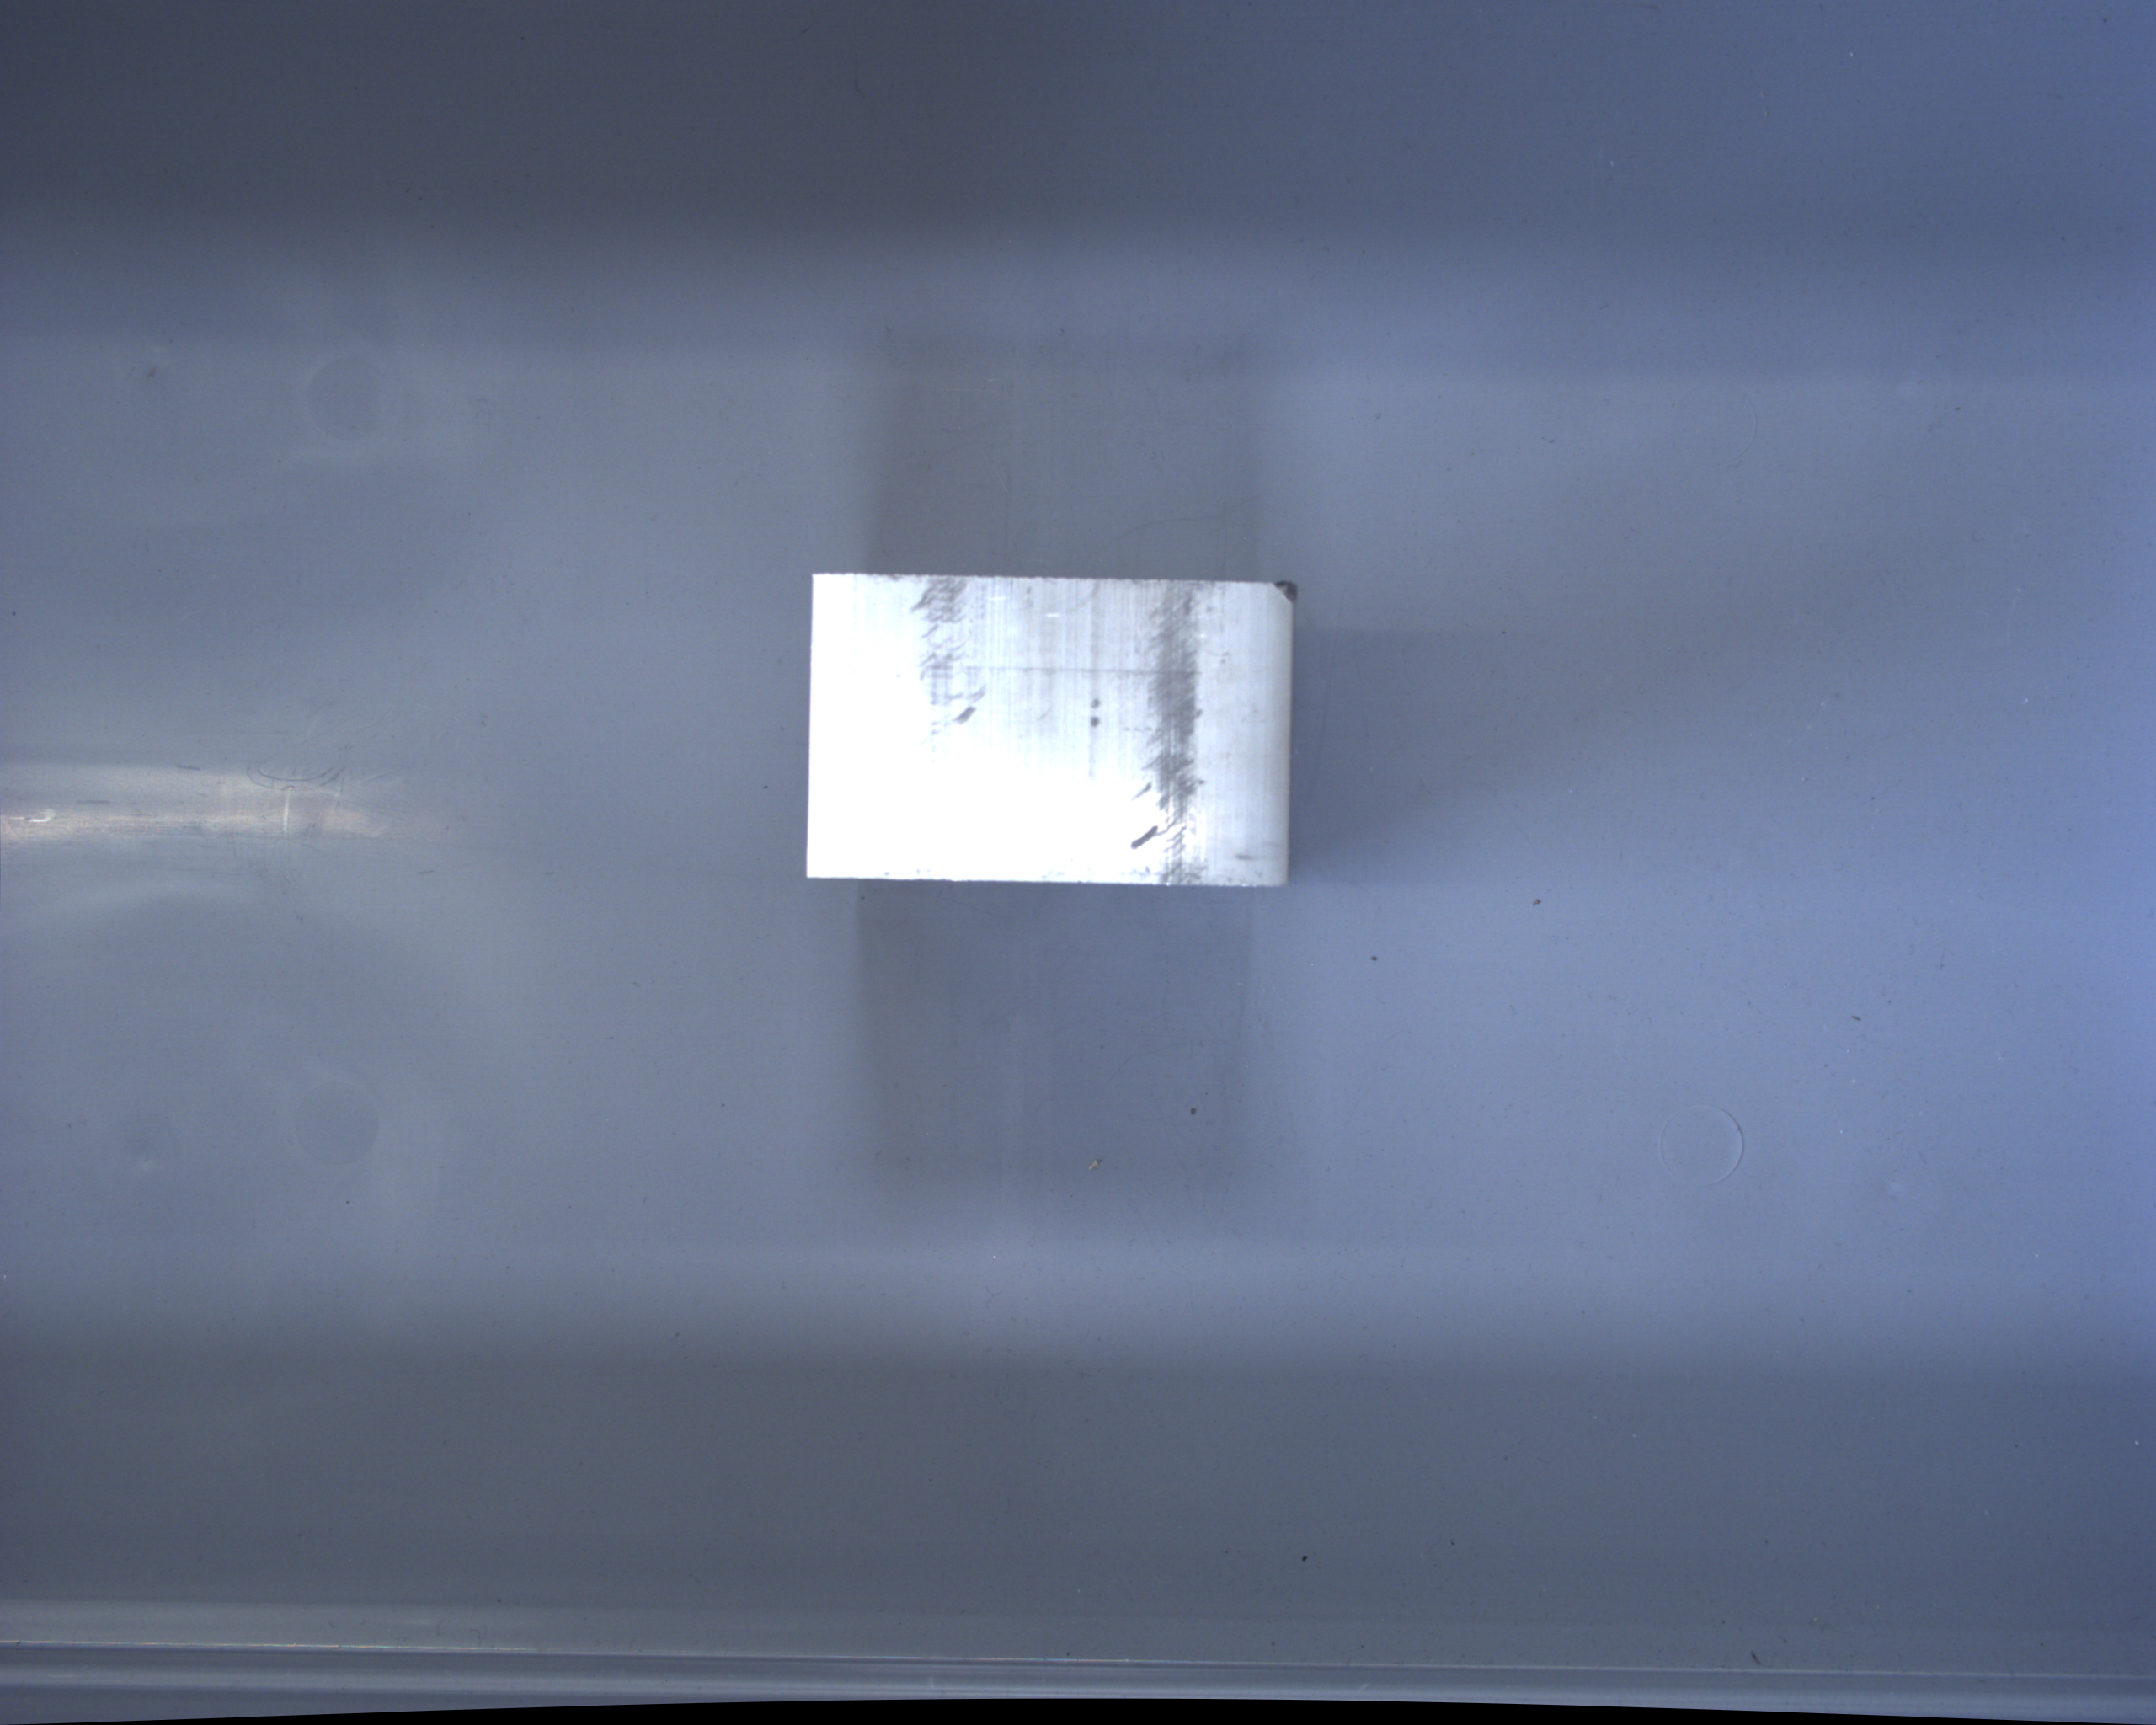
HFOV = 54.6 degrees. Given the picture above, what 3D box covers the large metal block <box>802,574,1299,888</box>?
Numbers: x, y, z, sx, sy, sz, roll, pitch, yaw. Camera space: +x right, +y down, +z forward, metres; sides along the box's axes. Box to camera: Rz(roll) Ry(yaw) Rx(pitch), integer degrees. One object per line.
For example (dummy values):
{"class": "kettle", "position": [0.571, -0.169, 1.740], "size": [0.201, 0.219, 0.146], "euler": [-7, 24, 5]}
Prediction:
{"class": "large metal block", "position": [-0.005, -0.022, 0.382], "size": [0.080, 0.080, 0.050], "euler": [1, 90, 0]}
